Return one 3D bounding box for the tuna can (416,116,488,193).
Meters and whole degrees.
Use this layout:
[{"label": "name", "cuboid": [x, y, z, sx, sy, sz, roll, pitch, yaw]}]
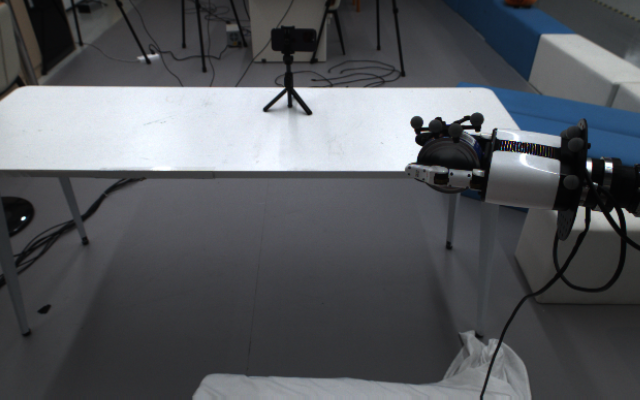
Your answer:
[{"label": "tuna can", "cuboid": [0.181, -0.056, 0.671, 0.085, 0.085, 0.034, 17, 37, 20]}]
